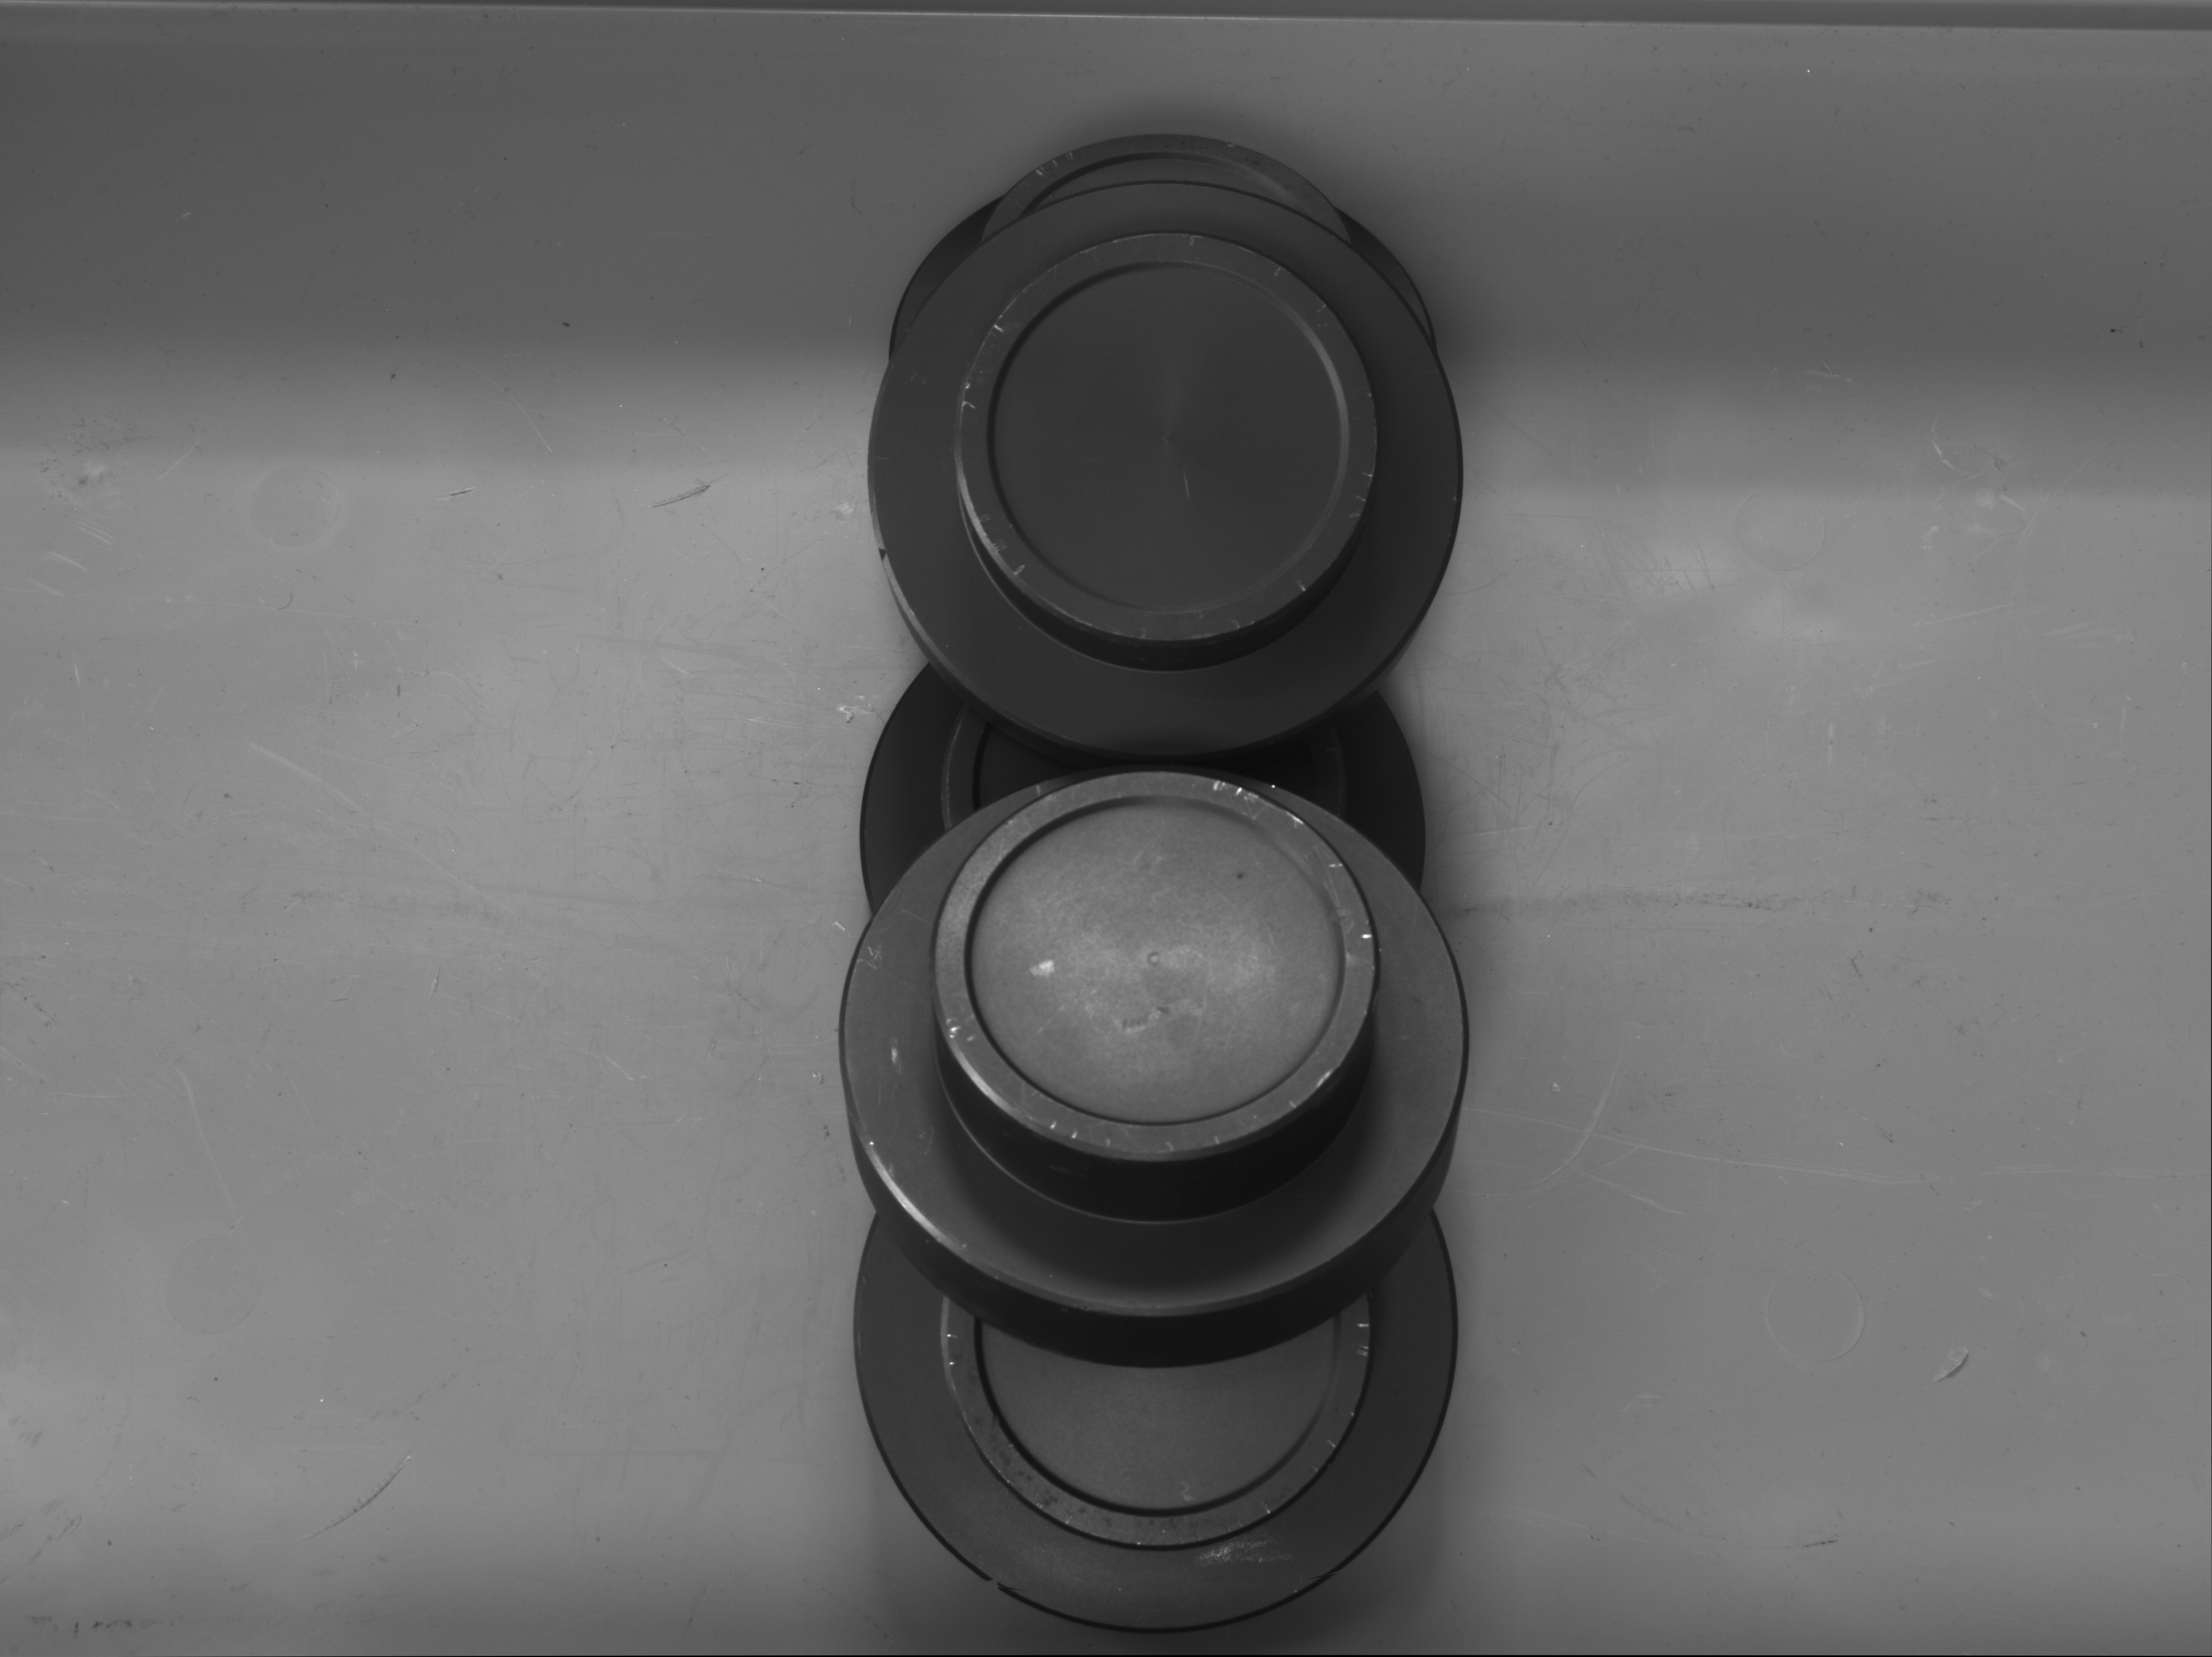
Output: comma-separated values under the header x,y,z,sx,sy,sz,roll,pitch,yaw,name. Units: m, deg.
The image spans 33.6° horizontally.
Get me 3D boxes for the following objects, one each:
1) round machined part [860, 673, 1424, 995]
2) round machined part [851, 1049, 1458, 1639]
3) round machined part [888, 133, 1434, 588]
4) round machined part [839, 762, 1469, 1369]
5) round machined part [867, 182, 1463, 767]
x,y,z,sx,sy,sz,roll,pitch,yaw,name
0.006,-0.001,0.635,0.098,0.042,0.098,0,69,0,round machined part
0.008,0.081,0.590,0.098,0.042,0.098,0,85,0,round machined part
0.010,-0.086,0.654,0.098,0.042,0.098,0,54,0,round machined part
0.007,0.030,0.569,0.098,0.042,0.098,0,59,0,round machined part
0.010,-0.059,0.602,0.098,0.042,0.098,0,82,0,round machined part
